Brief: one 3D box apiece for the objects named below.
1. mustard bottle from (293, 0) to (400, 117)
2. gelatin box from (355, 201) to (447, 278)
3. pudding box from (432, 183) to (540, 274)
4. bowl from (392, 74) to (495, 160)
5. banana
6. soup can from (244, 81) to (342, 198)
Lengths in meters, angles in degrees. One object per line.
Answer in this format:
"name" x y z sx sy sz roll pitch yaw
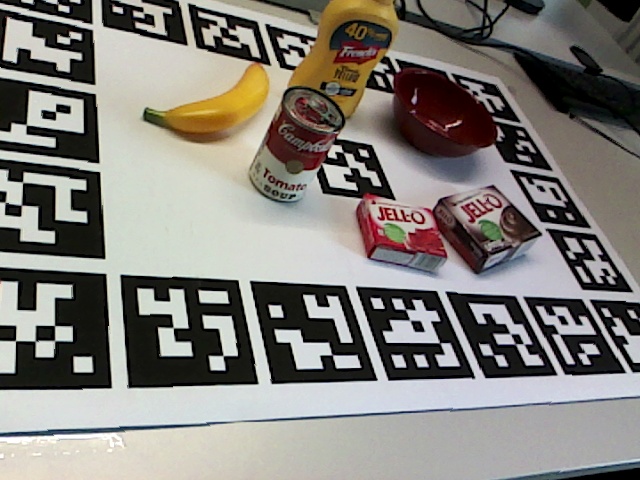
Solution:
"mustard bottle" 0.042 -0.241 0.746 0.095 0.191 0.059 5 45 -28
"gelatin box" 0.088 -0.001 0.678 0.089 0.030 0.073 10 48 -23
"pudding box" 0.202 -0.016 0.755 0.113 0.039 0.090 -19 67 -42
"bowl" 0.162 -0.163 0.868 0.161 0.055 0.162 16 43 -16
"banana" -0.112 -0.165 0.710 0.074 0.039 0.197 27 40 9
"soup can" -0.030 -0.102 0.636 0.067 0.102 0.068 19 40 -17
